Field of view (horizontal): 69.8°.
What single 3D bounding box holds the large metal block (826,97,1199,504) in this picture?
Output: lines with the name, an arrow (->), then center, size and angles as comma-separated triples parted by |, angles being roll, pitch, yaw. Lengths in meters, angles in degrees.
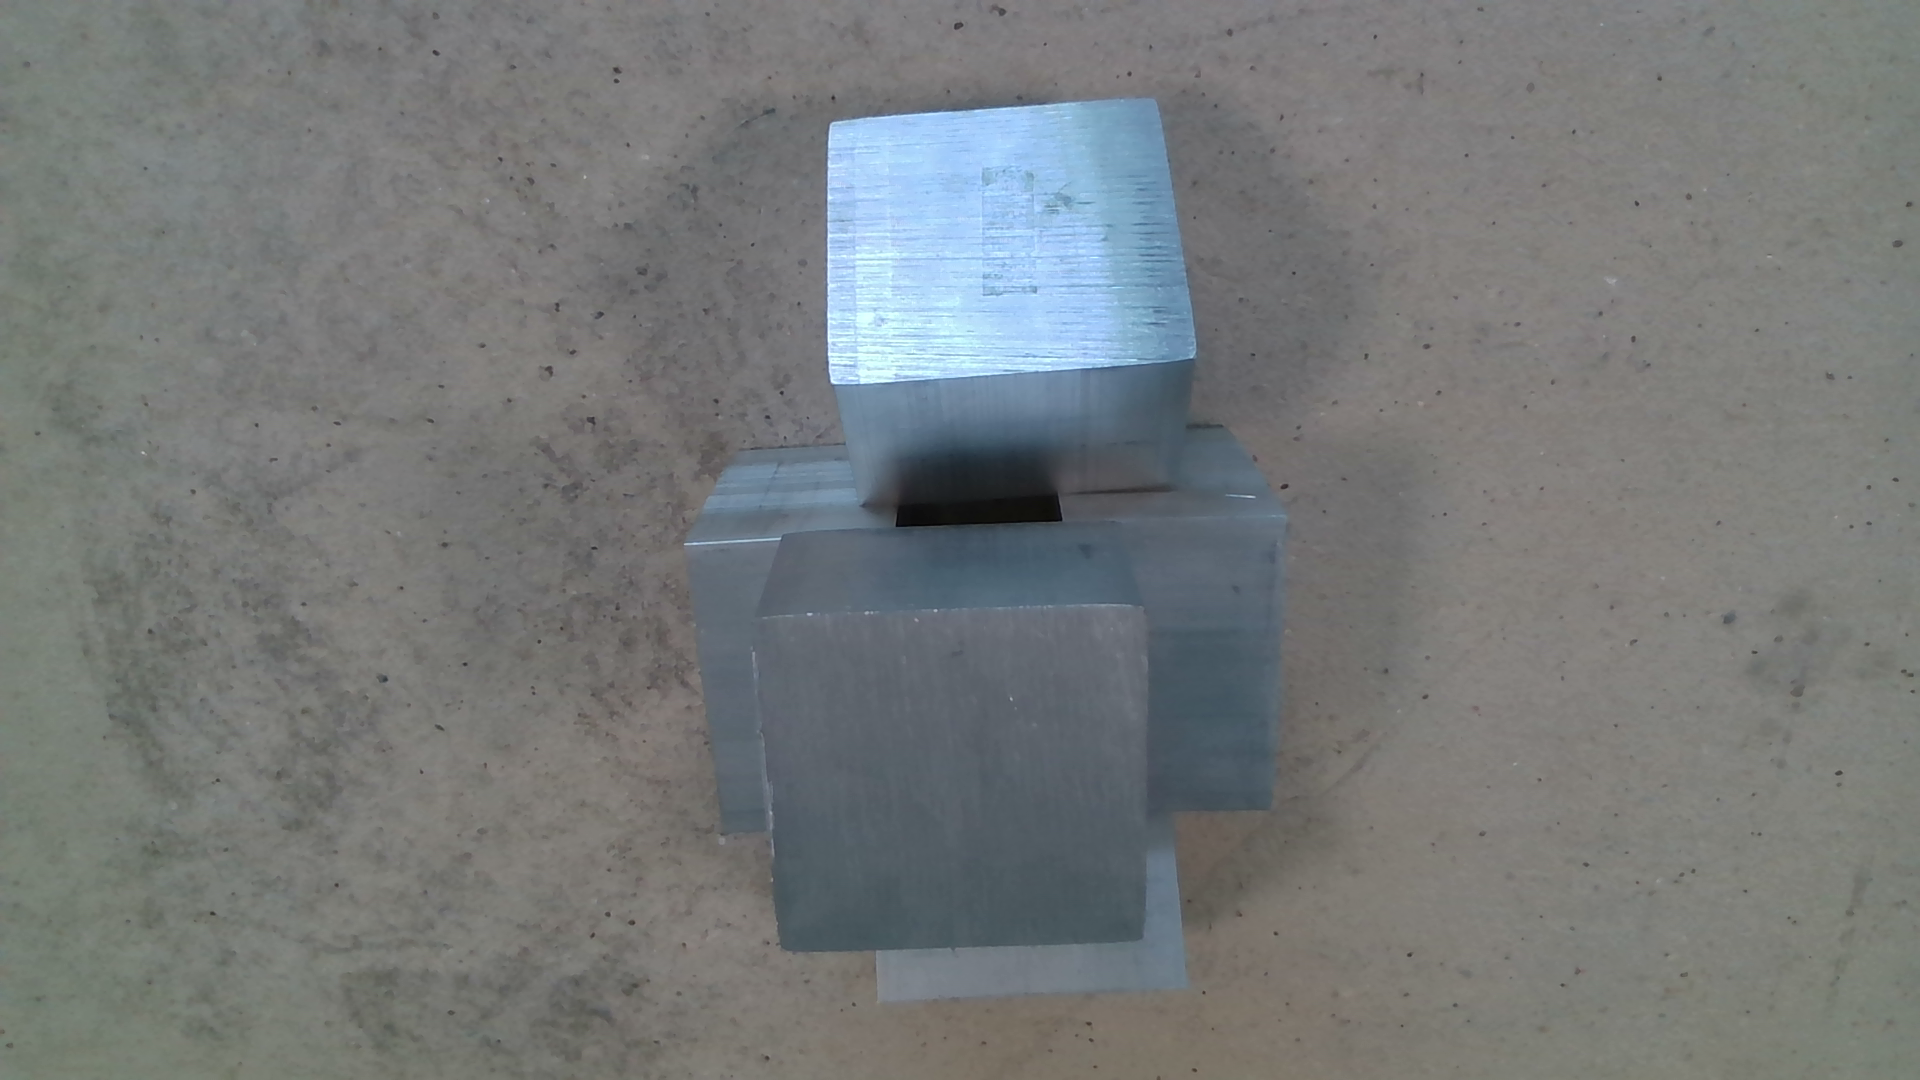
large metal block -> 0.010, -0.058, 0.336 | 0.080, 0.080, 0.050 | -4, 150, 1

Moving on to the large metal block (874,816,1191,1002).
large metal block -> 0.019, 0.101, 0.393 | 0.080, 0.080, 0.050 | -3, 75, 1

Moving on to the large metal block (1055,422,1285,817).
large metal block -> 0.052, 0.018, 0.372 | 0.050, 0.080, 0.080 | -2, 110, 1

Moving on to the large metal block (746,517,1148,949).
large metal block -> -0.001, 0.042, 0.311 | 0.080, 0.050, 0.080 | -2, 110, 1

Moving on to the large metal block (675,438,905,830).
large metal block -> -0.039, 0.022, 0.374 | 0.050, 0.080, 0.080 | -4, 110, 1
